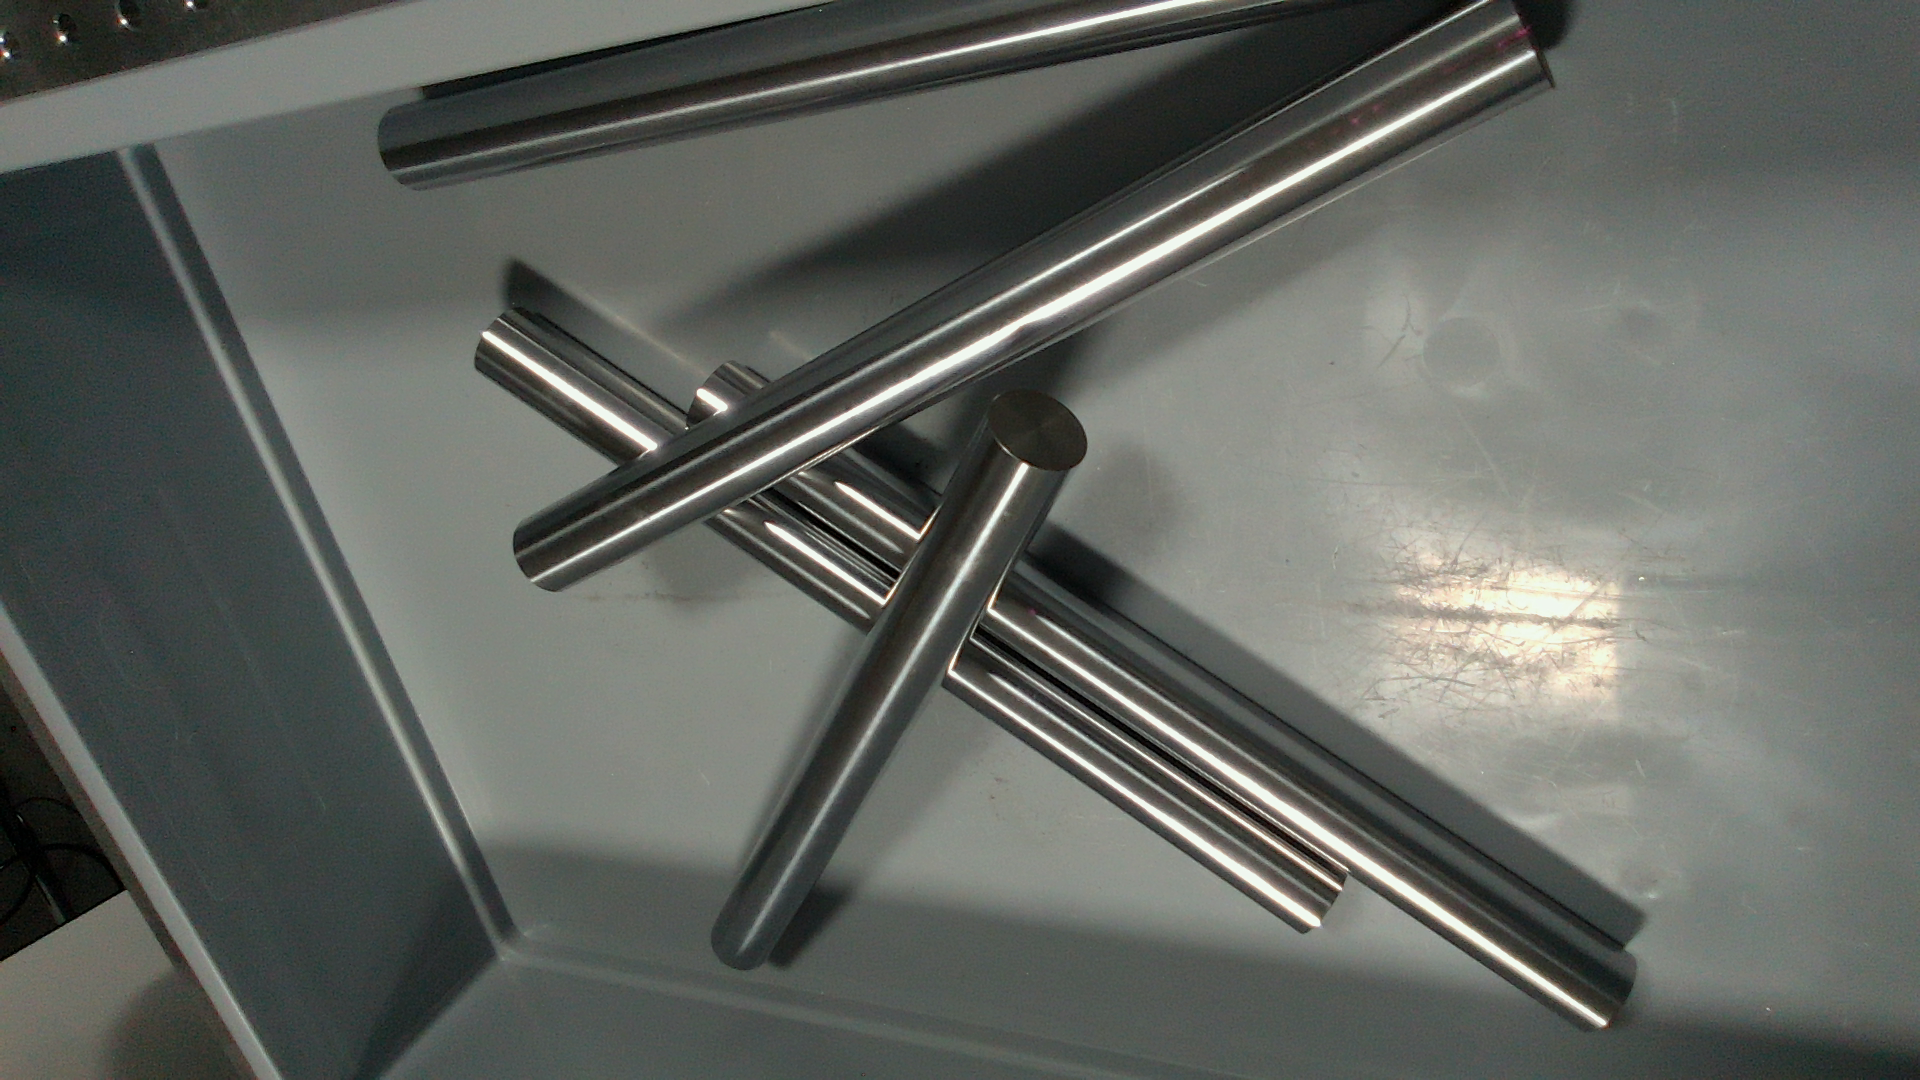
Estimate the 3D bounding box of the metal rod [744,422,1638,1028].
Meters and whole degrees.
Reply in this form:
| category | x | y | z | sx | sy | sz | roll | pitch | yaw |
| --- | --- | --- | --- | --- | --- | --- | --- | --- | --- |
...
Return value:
| category | x | y | z | sx | sy | sz | roll | pitch | yaw |
| --- | --- | --- | --- | --- | --- | --- | --- | --- | --- |
| metal rod | 0.051 | 0.039 | 0.389 | 0.300 | 0.025 | 0.025 | 34 | 129 | 6 |

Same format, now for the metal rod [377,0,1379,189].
| category | x | y | z | sx | sy | sz | roll | pitch | yaw |
| --- | --- | --- | --- | --- | --- | --- | --- | --- | --- |
| metal rod | -0.031 | -0.119 | 0.335 | 0.299 | 0.025 | 0.025 | -1 | 118 | 29 |

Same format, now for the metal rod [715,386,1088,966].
| category | x | y | z | sx | sy | sz | roll | pitch | yaw |
| --- | --- | --- | --- | --- | --- | --- | --- | --- | --- |
| metal rod | -0.033 | 0.064 | 0.423 | 0.025 | 0.025 | 0.299 | 35 | 137 | 5 |

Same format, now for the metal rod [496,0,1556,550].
| category | x | y | z | sx | sy | sz | roll | pitch | yaw |
| --- | --- | --- | --- | --- | --- | --- | --- | --- | --- |
| metal rod | -0.009 | -0.056 | 0.342 | 0.299 | 0.025 | 0.025 | -22 | 107 | 30 |

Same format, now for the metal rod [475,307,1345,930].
| category | x | y | z | sx | sy | sz | roll | pitch | yaw |
| --- | --- | --- | --- | --- | --- | --- | --- | --- | --- |
| metal rod | -0.019 | 0.020 | 0.415 | 0.300 | 0.025 | 0.025 | 34 | 129 | 6 |
